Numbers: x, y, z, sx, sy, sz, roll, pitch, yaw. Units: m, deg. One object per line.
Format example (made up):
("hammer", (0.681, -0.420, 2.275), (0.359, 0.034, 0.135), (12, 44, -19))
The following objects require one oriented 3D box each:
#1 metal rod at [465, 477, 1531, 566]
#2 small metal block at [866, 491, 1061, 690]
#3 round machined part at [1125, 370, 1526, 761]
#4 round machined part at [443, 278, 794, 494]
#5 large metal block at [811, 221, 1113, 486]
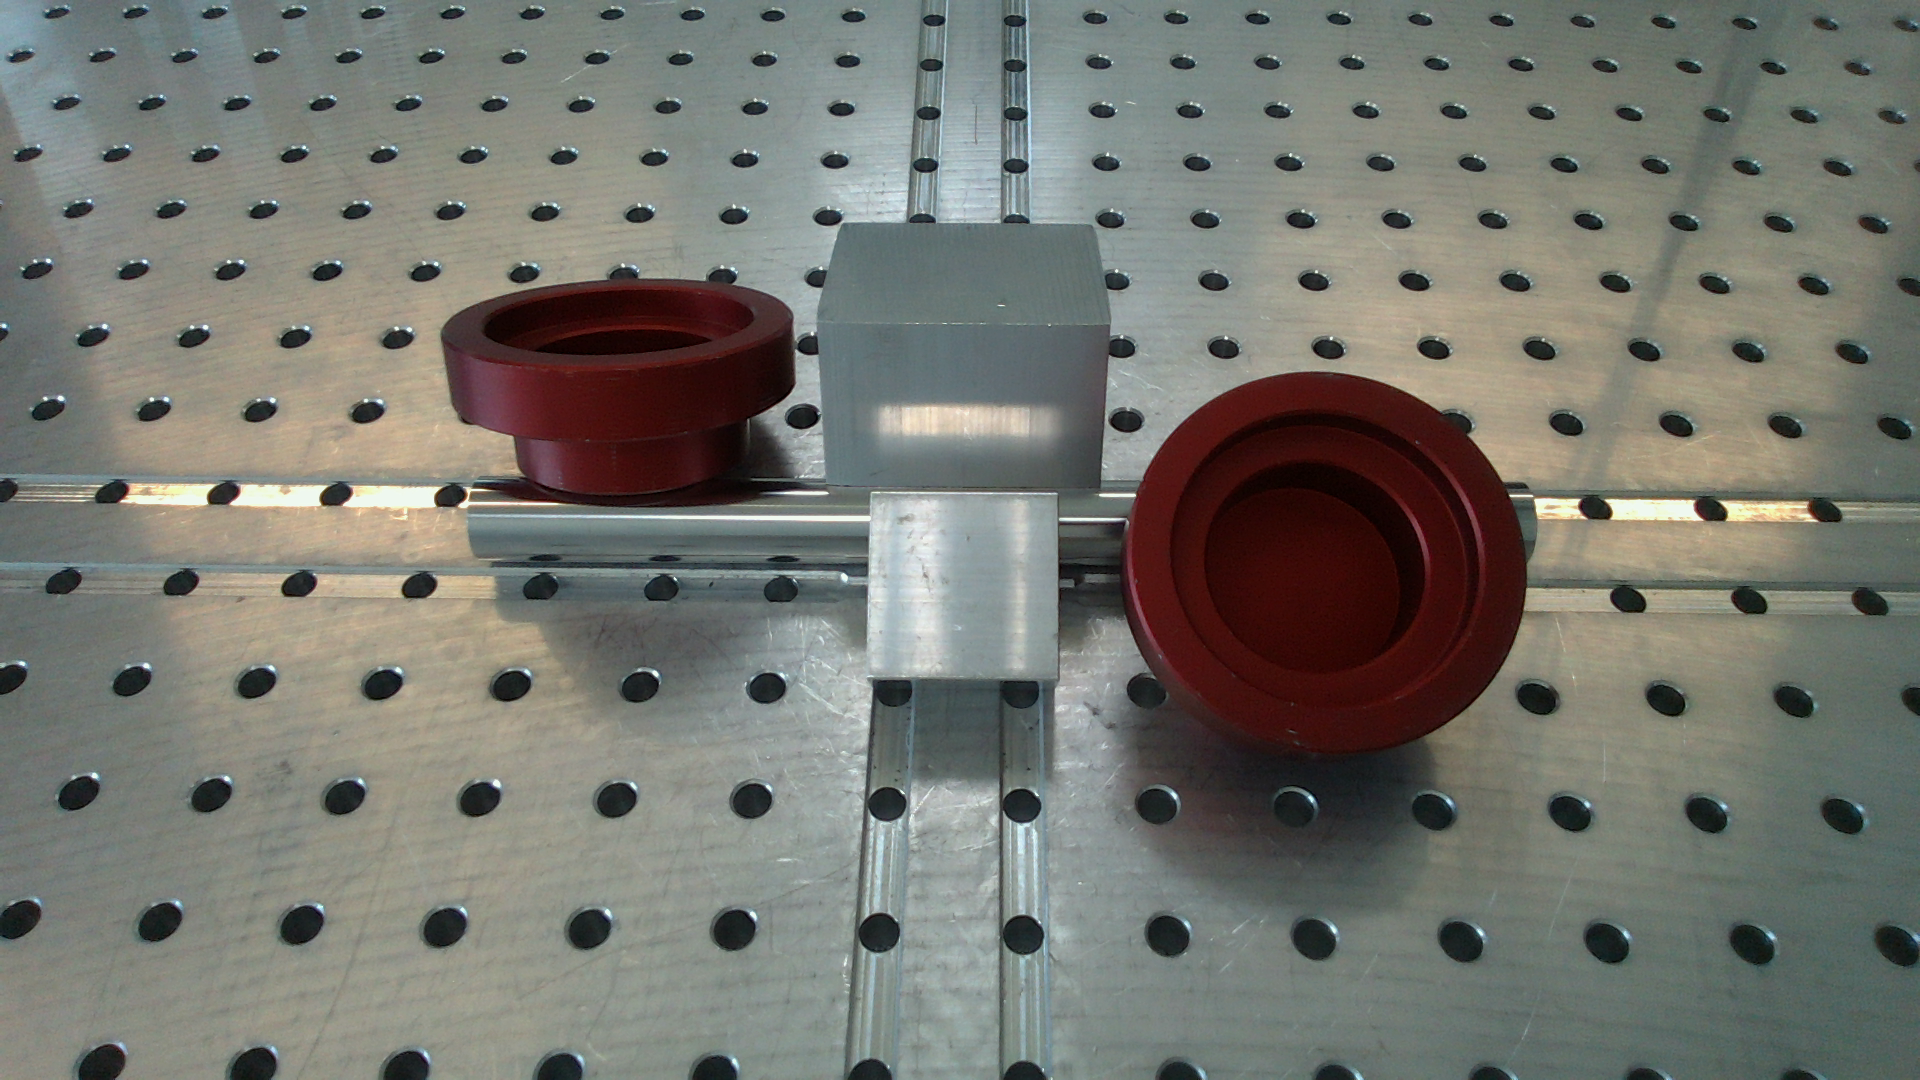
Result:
("metal rod", (0.011, -0.005, 0.400), (0.300, 0.025, 0.025), (0, 50, 0))
("small metal block", (0.001, 0.014, 0.370), (0.050, 0.025, 0.050), (1, 78, 0))
("round machined part", (0.091, 0.009, 0.360), (0.098, 0.042, 0.098), (0, 75, 0))
("round machined part", (-0.098, -0.045, 0.405), (0.098, 0.042, 0.098), (0, 24, 0))
("large metal block", (0.001, -0.058, 0.412), (0.080, 0.050, 0.080), (1, 32, 1))
